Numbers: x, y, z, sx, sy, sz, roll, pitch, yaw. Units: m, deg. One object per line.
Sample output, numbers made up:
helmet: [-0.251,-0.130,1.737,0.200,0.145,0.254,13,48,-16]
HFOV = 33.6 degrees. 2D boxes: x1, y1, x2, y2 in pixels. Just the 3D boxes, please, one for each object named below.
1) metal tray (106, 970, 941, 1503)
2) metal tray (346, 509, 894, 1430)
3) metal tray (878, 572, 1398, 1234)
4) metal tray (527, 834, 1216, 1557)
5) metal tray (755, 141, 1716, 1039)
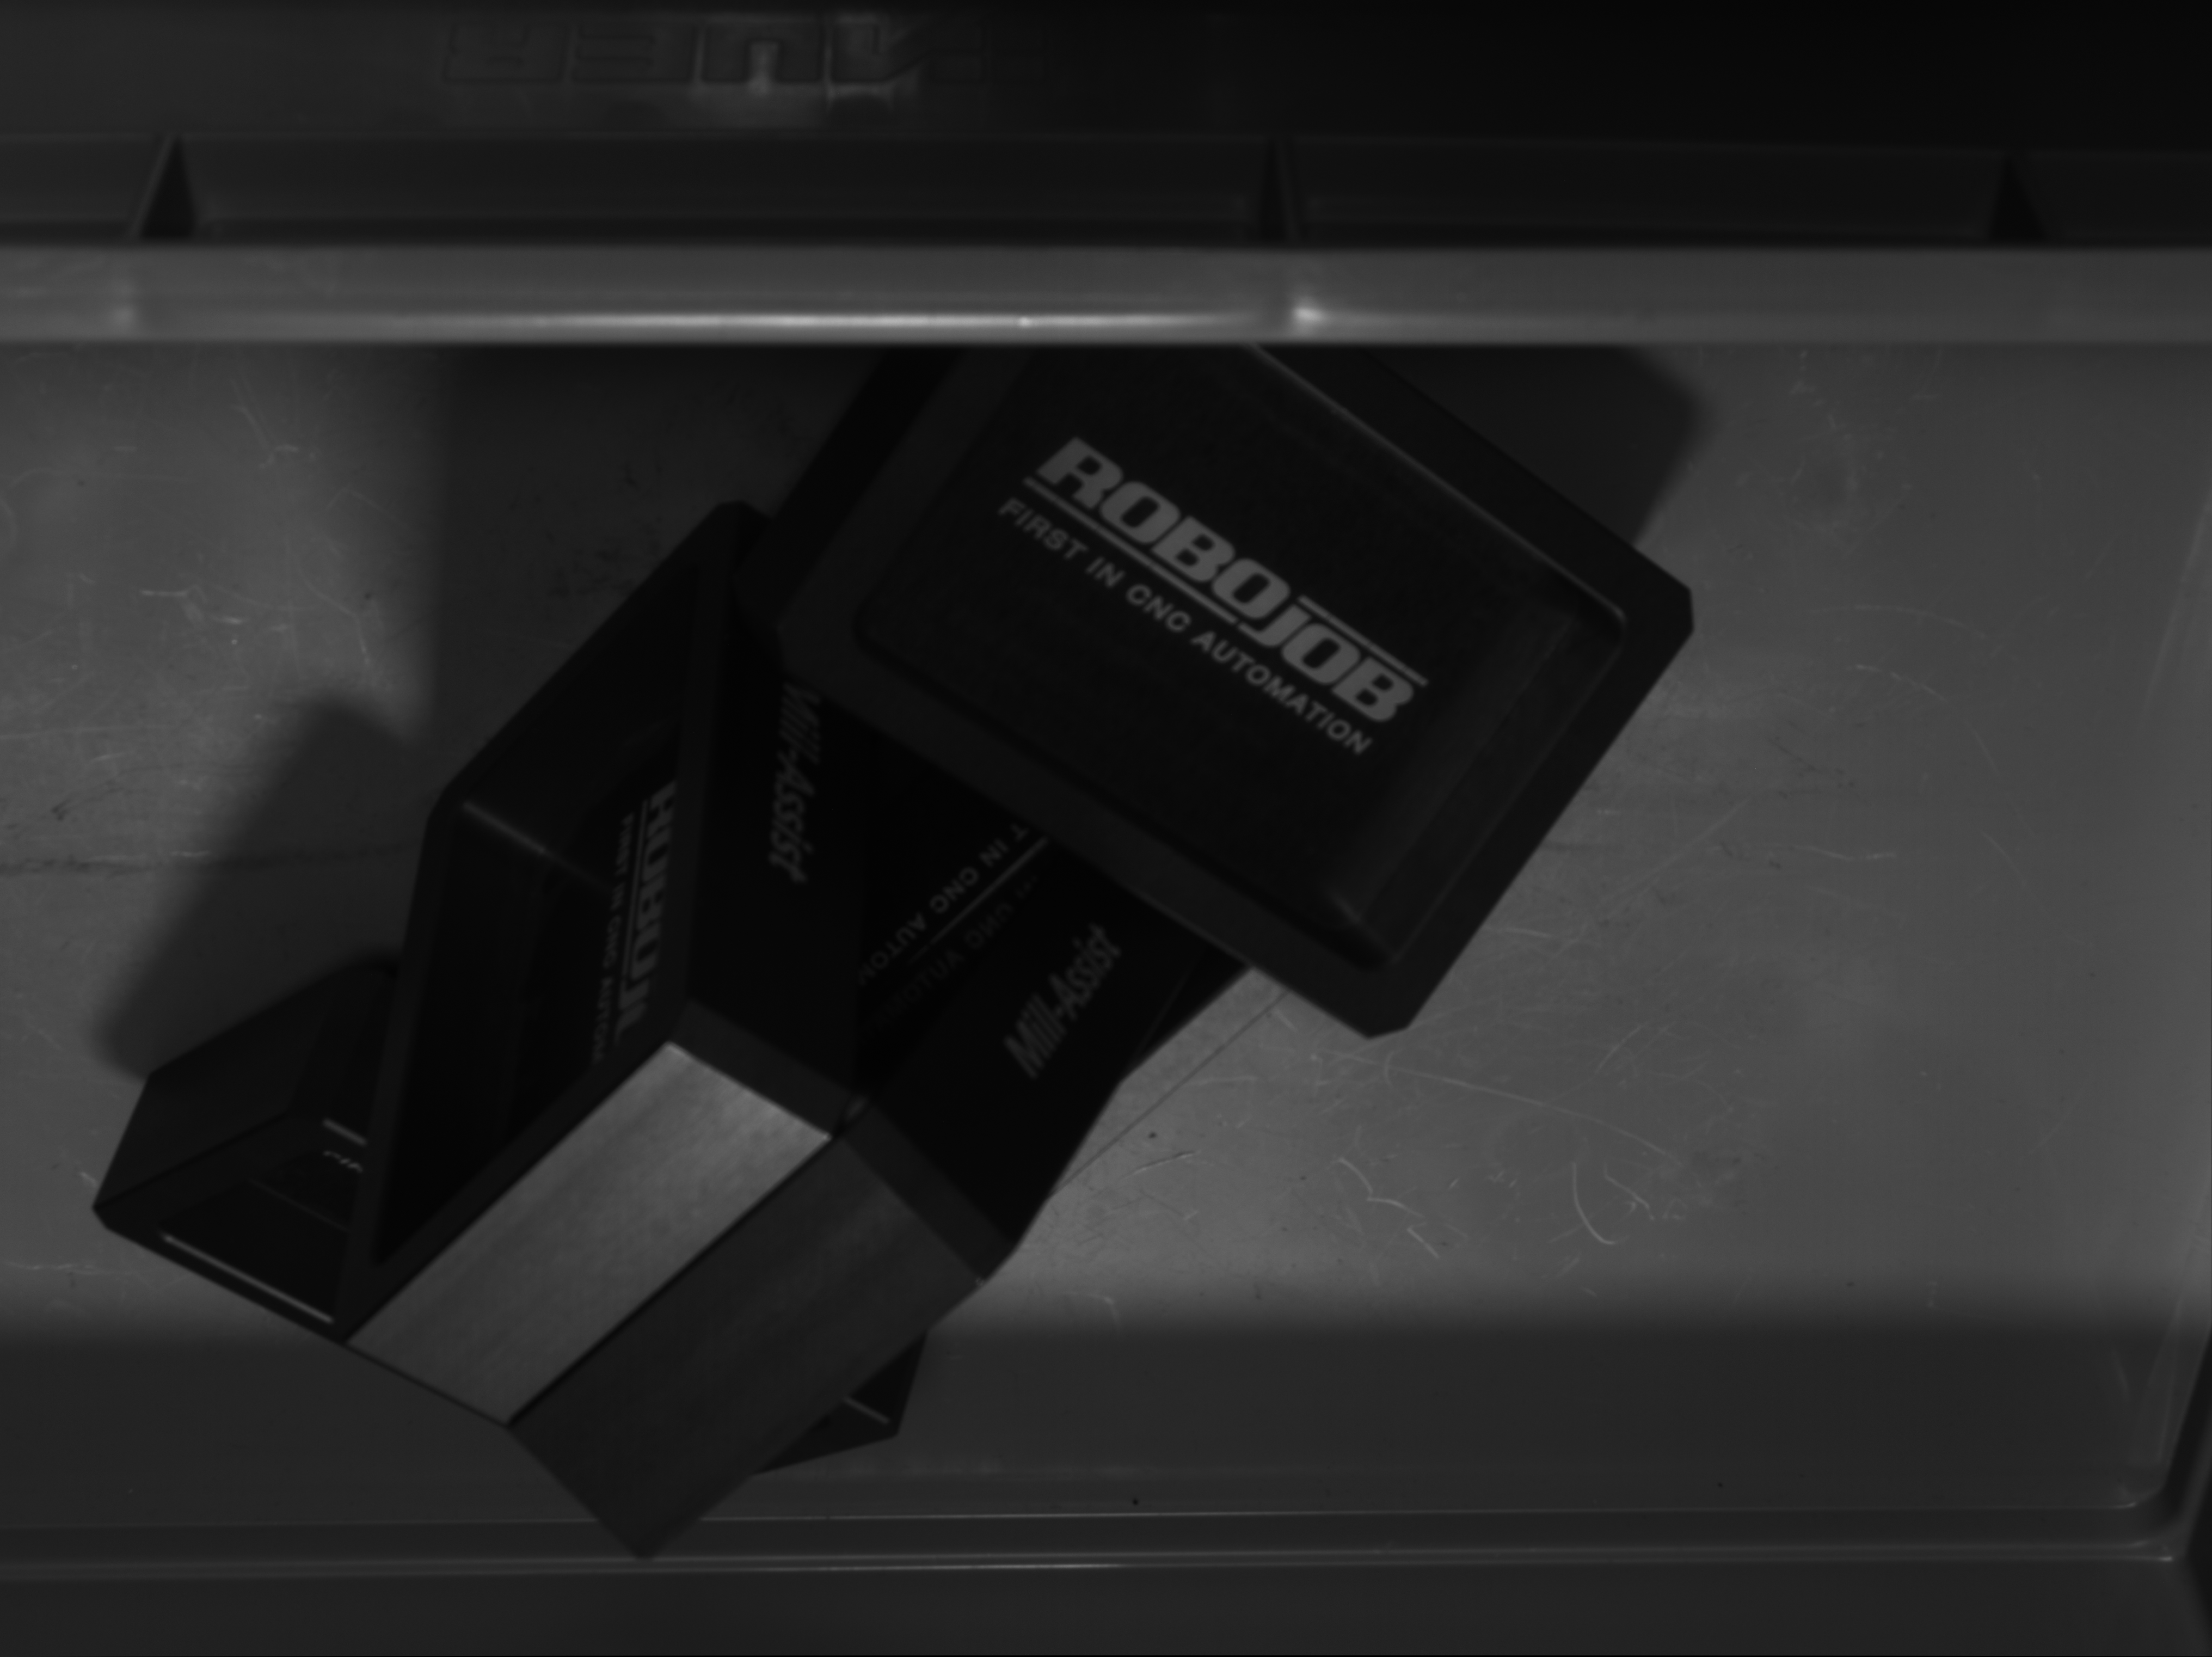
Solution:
metal tray: [-0.105,0.079,0.673,0.130,0.030,0.090,33,146,-26]
metal tray: [-0.074,0.019,0.581,0.030,0.130,0.090,34,122,-25]
metal tray: [-0.023,0.021,0.650,0.090,0.030,0.130,32,122,-25]
metal tray: [-0.033,0.052,0.595,0.030,0.130,0.090,45,118,-5]
metal tray: [0.022,-0.036,0.582,0.130,0.030,0.090,32,97,-25]
